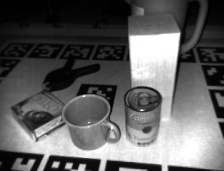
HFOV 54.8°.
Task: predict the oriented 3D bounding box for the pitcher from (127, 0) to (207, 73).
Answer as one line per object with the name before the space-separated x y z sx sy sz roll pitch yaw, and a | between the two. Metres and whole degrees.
pitcher | 0.124 -0.134 0.535 0.188 0.244 0.133 -2 38 10

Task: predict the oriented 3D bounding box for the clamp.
clamp | -0.121 -0.042 0.621 0.120 0.037 0.166 28 50 24

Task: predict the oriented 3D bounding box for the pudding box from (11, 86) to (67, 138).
pudding box | -0.165 0.057 0.499 0.112 0.039 0.090 30 54 36

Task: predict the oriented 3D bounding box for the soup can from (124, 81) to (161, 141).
soup can | 0.060 0.052 0.424 0.068 0.103 0.067 -4 42 4

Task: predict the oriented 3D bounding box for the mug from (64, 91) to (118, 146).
mug | -0.034 0.071 0.429 0.115 0.082 0.094 28 48 35

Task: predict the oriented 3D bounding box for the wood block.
wood block | 0.085 -0.045 0.456 0.090 0.207 0.090 1 40 4
